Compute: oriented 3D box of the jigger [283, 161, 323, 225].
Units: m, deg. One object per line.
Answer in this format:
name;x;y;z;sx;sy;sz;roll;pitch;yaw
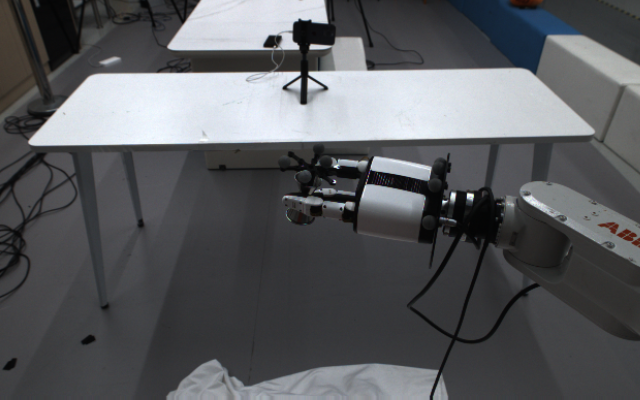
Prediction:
jigger;-0.023;-0.004;0.695;0.043;0.071;0.043;10;36;-7
